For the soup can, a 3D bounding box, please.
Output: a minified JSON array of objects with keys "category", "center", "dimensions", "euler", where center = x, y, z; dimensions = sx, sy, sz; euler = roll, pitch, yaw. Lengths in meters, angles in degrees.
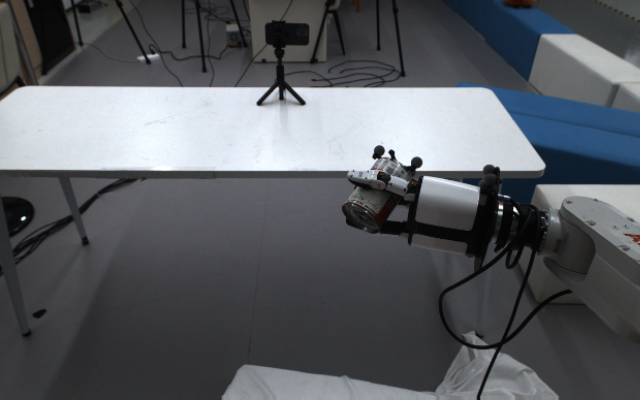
[{"category":"soup can","center":[0.089,-0.009,0.747],"dimensions":[0.067,0.067,0.101],"euler":[25,66,30]}]
